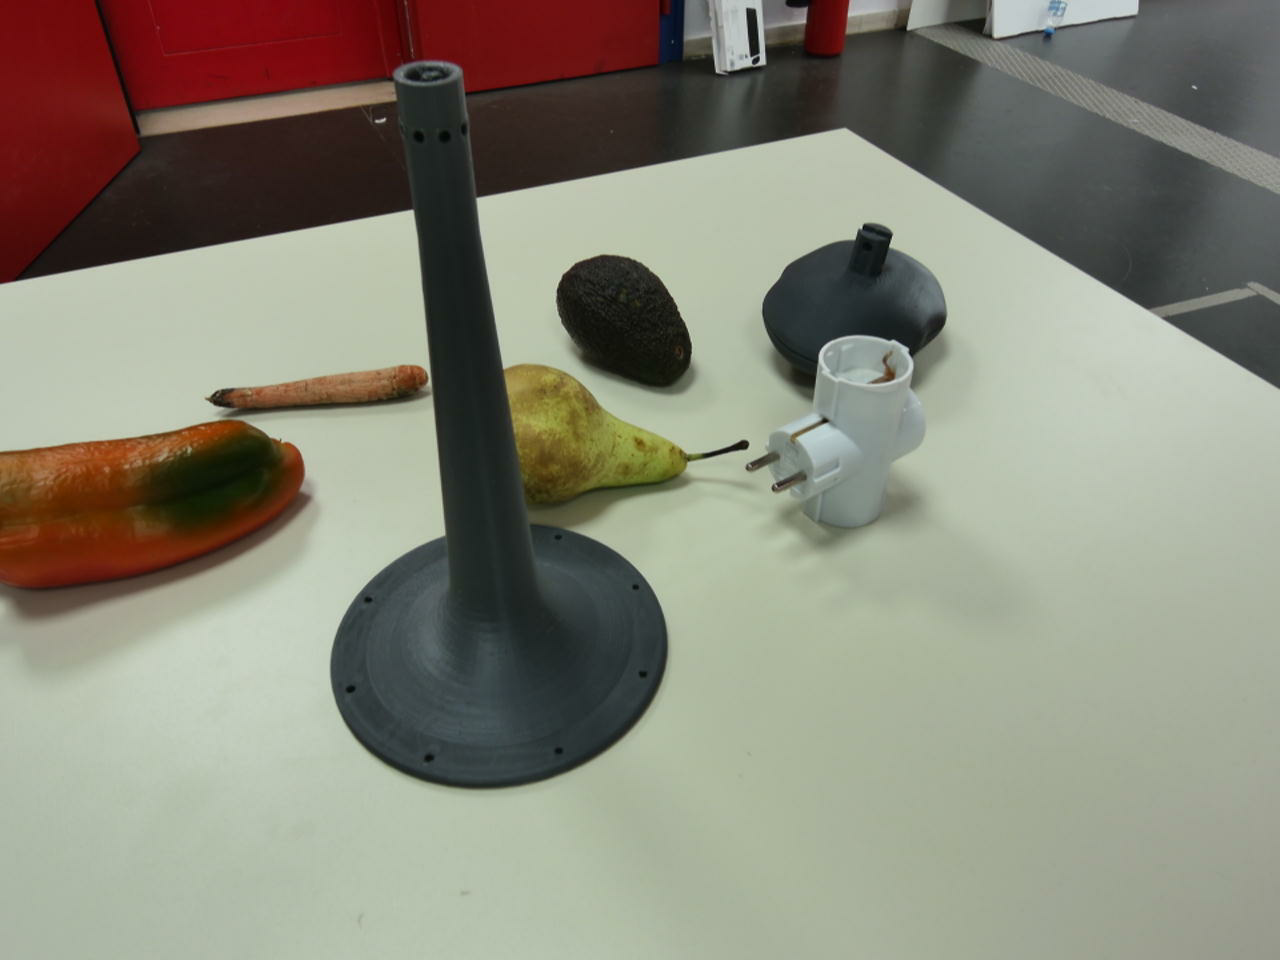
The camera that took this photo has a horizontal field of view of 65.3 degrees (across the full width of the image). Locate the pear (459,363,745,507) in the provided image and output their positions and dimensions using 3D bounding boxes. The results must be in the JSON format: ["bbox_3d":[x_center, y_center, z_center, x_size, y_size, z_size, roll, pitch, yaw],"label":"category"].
[{"bbox_3d":[-0.022,-0.030,0.524,0.144,0.075,0.071,-12,40,-14],"label":"pear"}]
